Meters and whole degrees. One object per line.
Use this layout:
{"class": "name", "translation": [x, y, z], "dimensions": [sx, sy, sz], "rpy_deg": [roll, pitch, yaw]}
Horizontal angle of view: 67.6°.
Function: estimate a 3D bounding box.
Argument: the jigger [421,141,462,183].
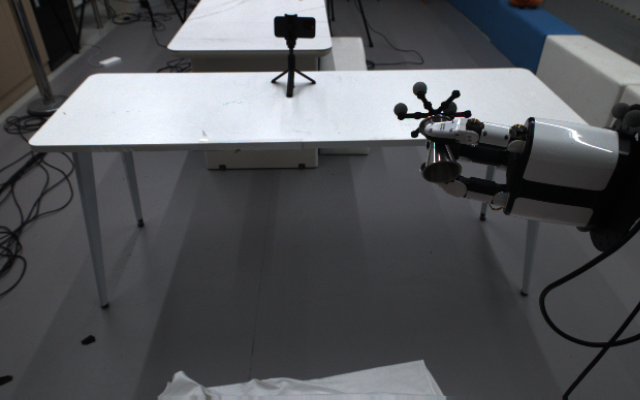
{"class": "jigger", "translation": [0.138, -0.063, 0.561], "dimensions": [0.043, 0.043, 0.071], "rpy_deg": [2, 59, -1]}
